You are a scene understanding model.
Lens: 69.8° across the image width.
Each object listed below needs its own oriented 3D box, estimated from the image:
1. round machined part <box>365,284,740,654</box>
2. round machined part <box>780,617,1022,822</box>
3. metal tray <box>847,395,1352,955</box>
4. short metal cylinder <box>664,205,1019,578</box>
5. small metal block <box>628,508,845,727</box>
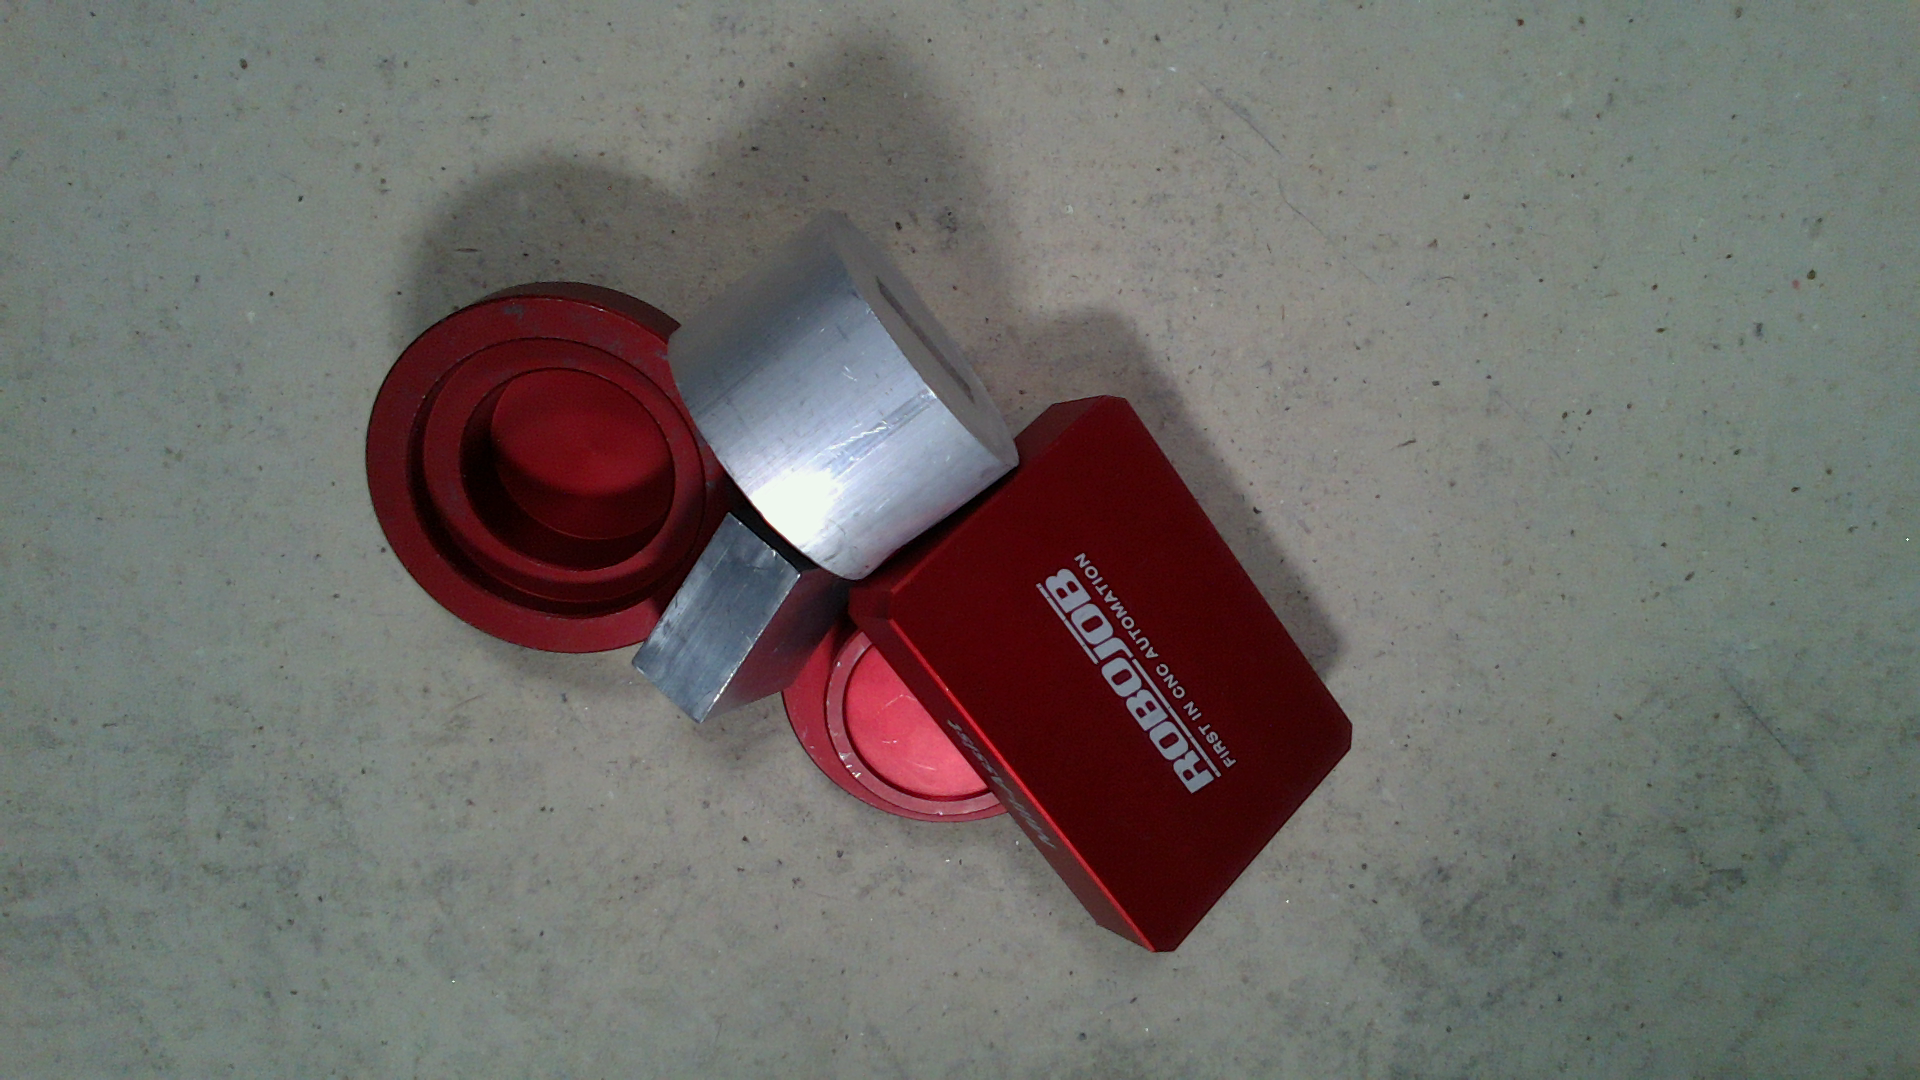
[{"bbox_3d":[-0.105,-0.022,0.376,0.098,0.042,0.098,0,110,0],"label":"round machined part"},{"bbox_3d":[-0.005,0.040,0.400,0.098,0.042,0.098,0,110,0],"label":"round machined part"},{"bbox_3d":[0.042,0.037,0.382,0.090,0.030,0.130,-43,108,-19],"label":"metal tray"},{"bbox_3d":[-0.029,-0.037,0.352,0.050,0.080,0.080,-36,106,12],"label":"short metal cylinder"},{"bbox_3d":[-0.054,0.018,0.368,0.025,0.050,0.050,39,107,13],"label":"small metal block"}]
